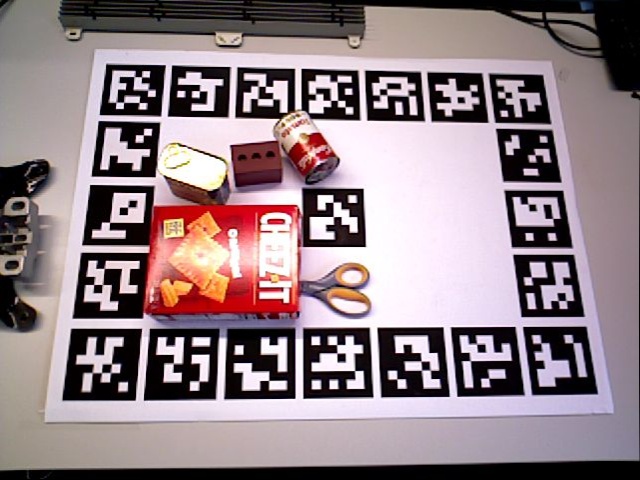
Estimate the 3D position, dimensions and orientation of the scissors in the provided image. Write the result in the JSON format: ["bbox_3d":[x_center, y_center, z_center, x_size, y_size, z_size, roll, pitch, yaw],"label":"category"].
[{"bbox_3d":[-0.023,0.087,0.802,0.201,0.016,0.087,-3,75,-4],"label":"scissors"}]

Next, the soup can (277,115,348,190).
[{"bbox_3d":[-0.012,-0.140,0.861,0.067,0.069,0.102,-35,73,-13],"label":"soup can"}]

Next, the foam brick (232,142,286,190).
[{"bbox_3d":[-0.094,-0.115,0.851,0.077,0.052,0.052,-9,74,-6],"label":"foam brick"}]

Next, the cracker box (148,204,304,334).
[{"bbox_3d":[-0.135,0.040,0.776,0.212,0.073,0.163,-5,73,-1],"label":"cracker box"}]

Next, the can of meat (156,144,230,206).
[{"bbox_3d":[-0.187,-0.093,0.819,0.101,0.085,0.057,15,73,0],"label":"can of meat"}]
